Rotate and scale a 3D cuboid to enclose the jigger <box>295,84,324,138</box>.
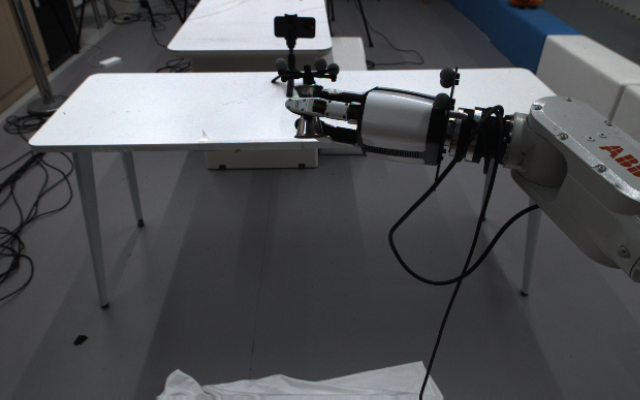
[{"bbox_3d":[-0.016,-0.121,0.664,0.043,0.071,0.043,-2,3,0],"label":"jigger"}]
